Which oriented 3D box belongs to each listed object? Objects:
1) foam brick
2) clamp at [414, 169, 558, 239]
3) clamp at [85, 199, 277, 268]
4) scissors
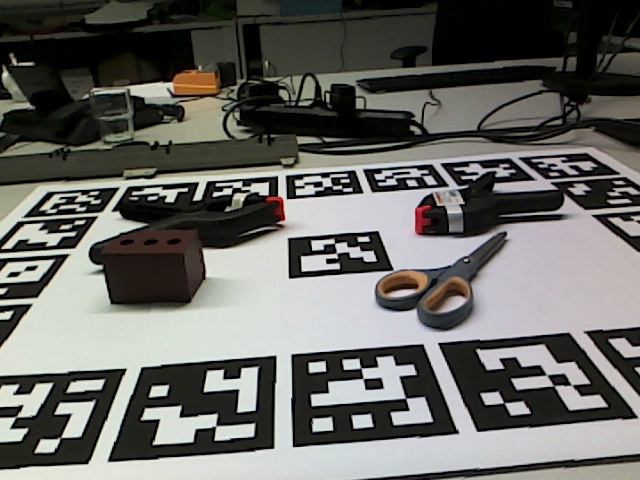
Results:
[{"bbox_3d":[-0.158,0.037,0.584,0.078,0.051,0.053,-5,27,7],"label":"foam brick"},{"bbox_3d":[0.175,-0.037,0.715,0.164,0.036,0.123,-18,36,-27],"label":"clamp"},{"bbox_3d":[-0.151,-0.018,0.710,0.202,0.036,0.166,-6,23,-6],"label":"clamp"},{"bbox_3d":[0.124,0.033,0.582,0.088,0.016,0.202,22,33,29],"label":"scissors"}]
